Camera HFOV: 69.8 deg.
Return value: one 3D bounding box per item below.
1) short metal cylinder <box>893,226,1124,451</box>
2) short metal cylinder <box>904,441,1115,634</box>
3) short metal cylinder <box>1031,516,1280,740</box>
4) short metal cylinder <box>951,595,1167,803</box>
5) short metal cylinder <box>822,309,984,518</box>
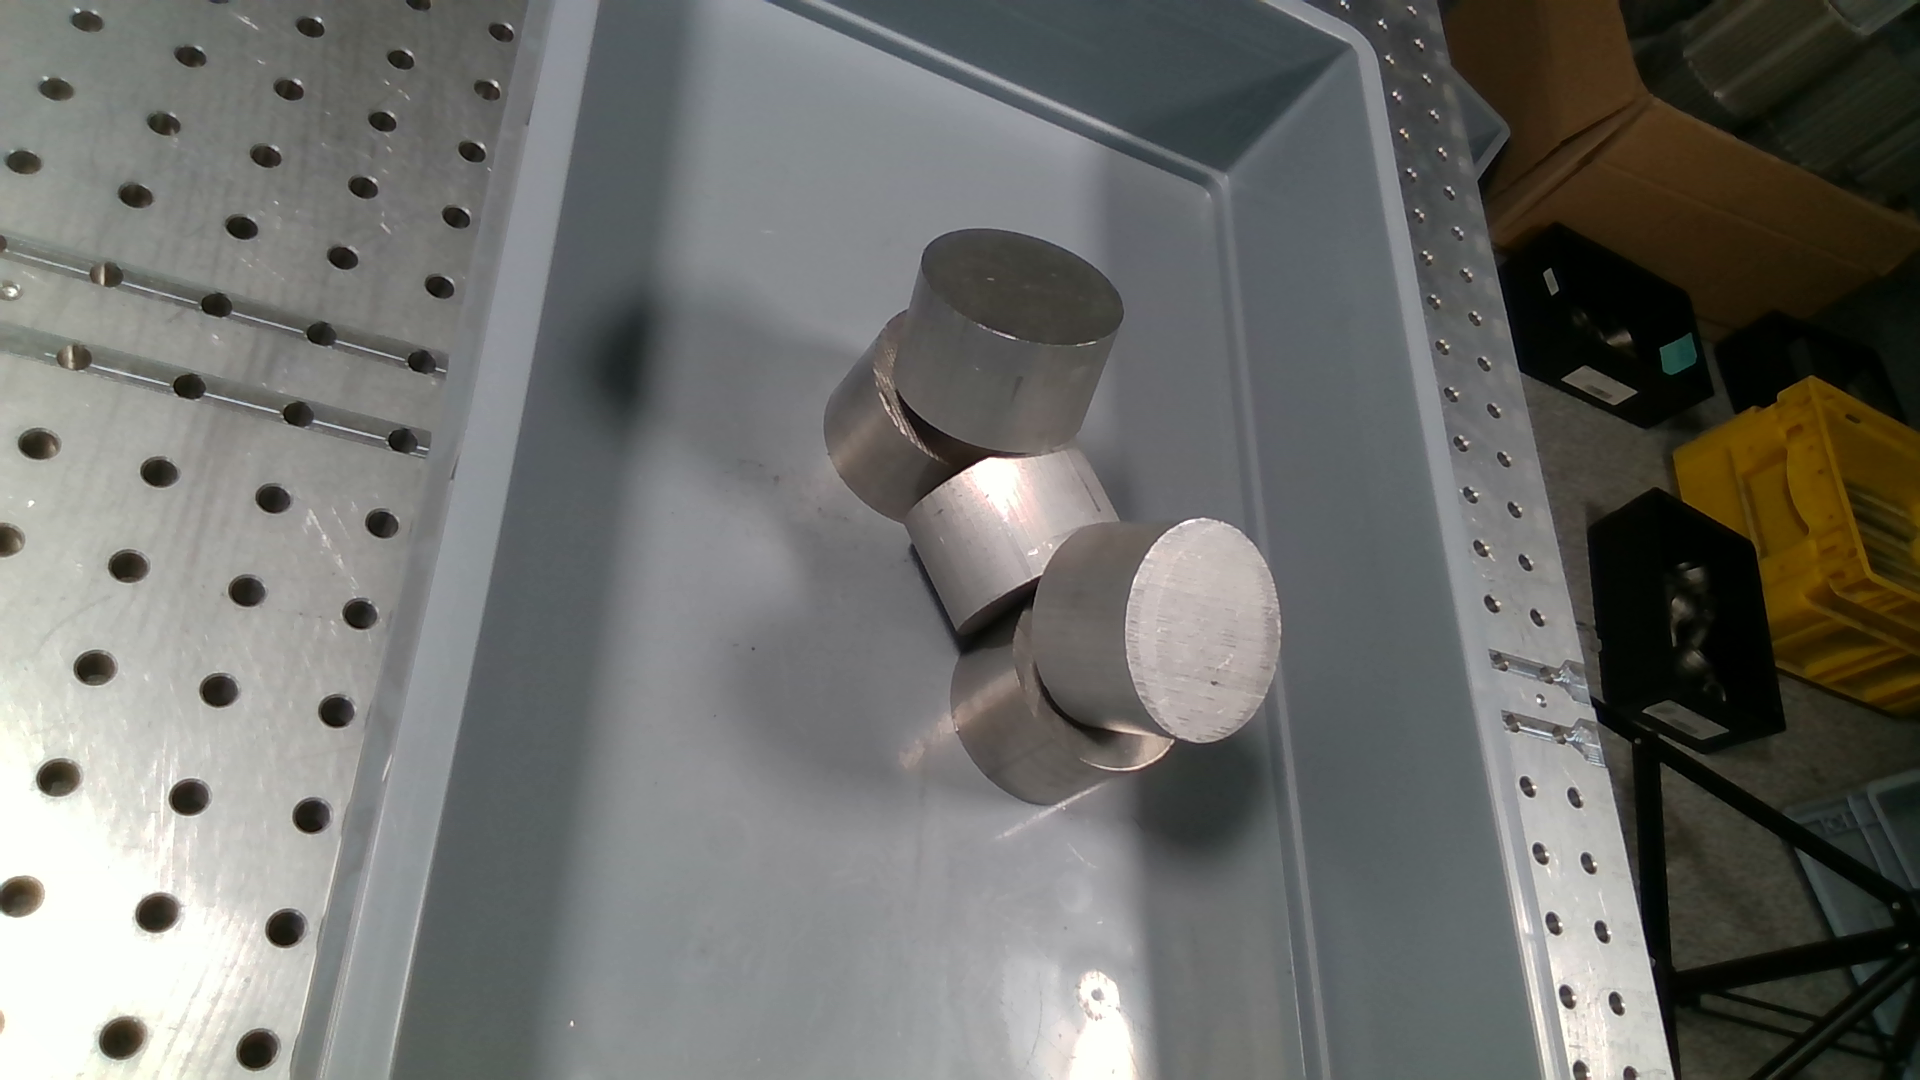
[{"bbox_3d":[0.018,-0.080,0.539,0.080,0.050,0.080,11,40,-10],"label":"short metal cylinder"},{"bbox_3d":[0.024,-0.002,0.565,0.080,0.080,0.050,-17,75,-37],"label":"short metal cylinder"},{"bbox_3d":[0.073,0.032,0.512,0.080,0.050,0.080,1,89,-38],"label":"short metal cylinder"},{"bbox_3d":[0.043,0.062,0.562,0.080,0.050,0.080,14,59,-25],"label":"short metal cylinder"},{"bbox_3d":[-0.012,-0.053,0.589,0.080,0.050,0.080,14,59,-25],"label":"short metal cylinder"}]
